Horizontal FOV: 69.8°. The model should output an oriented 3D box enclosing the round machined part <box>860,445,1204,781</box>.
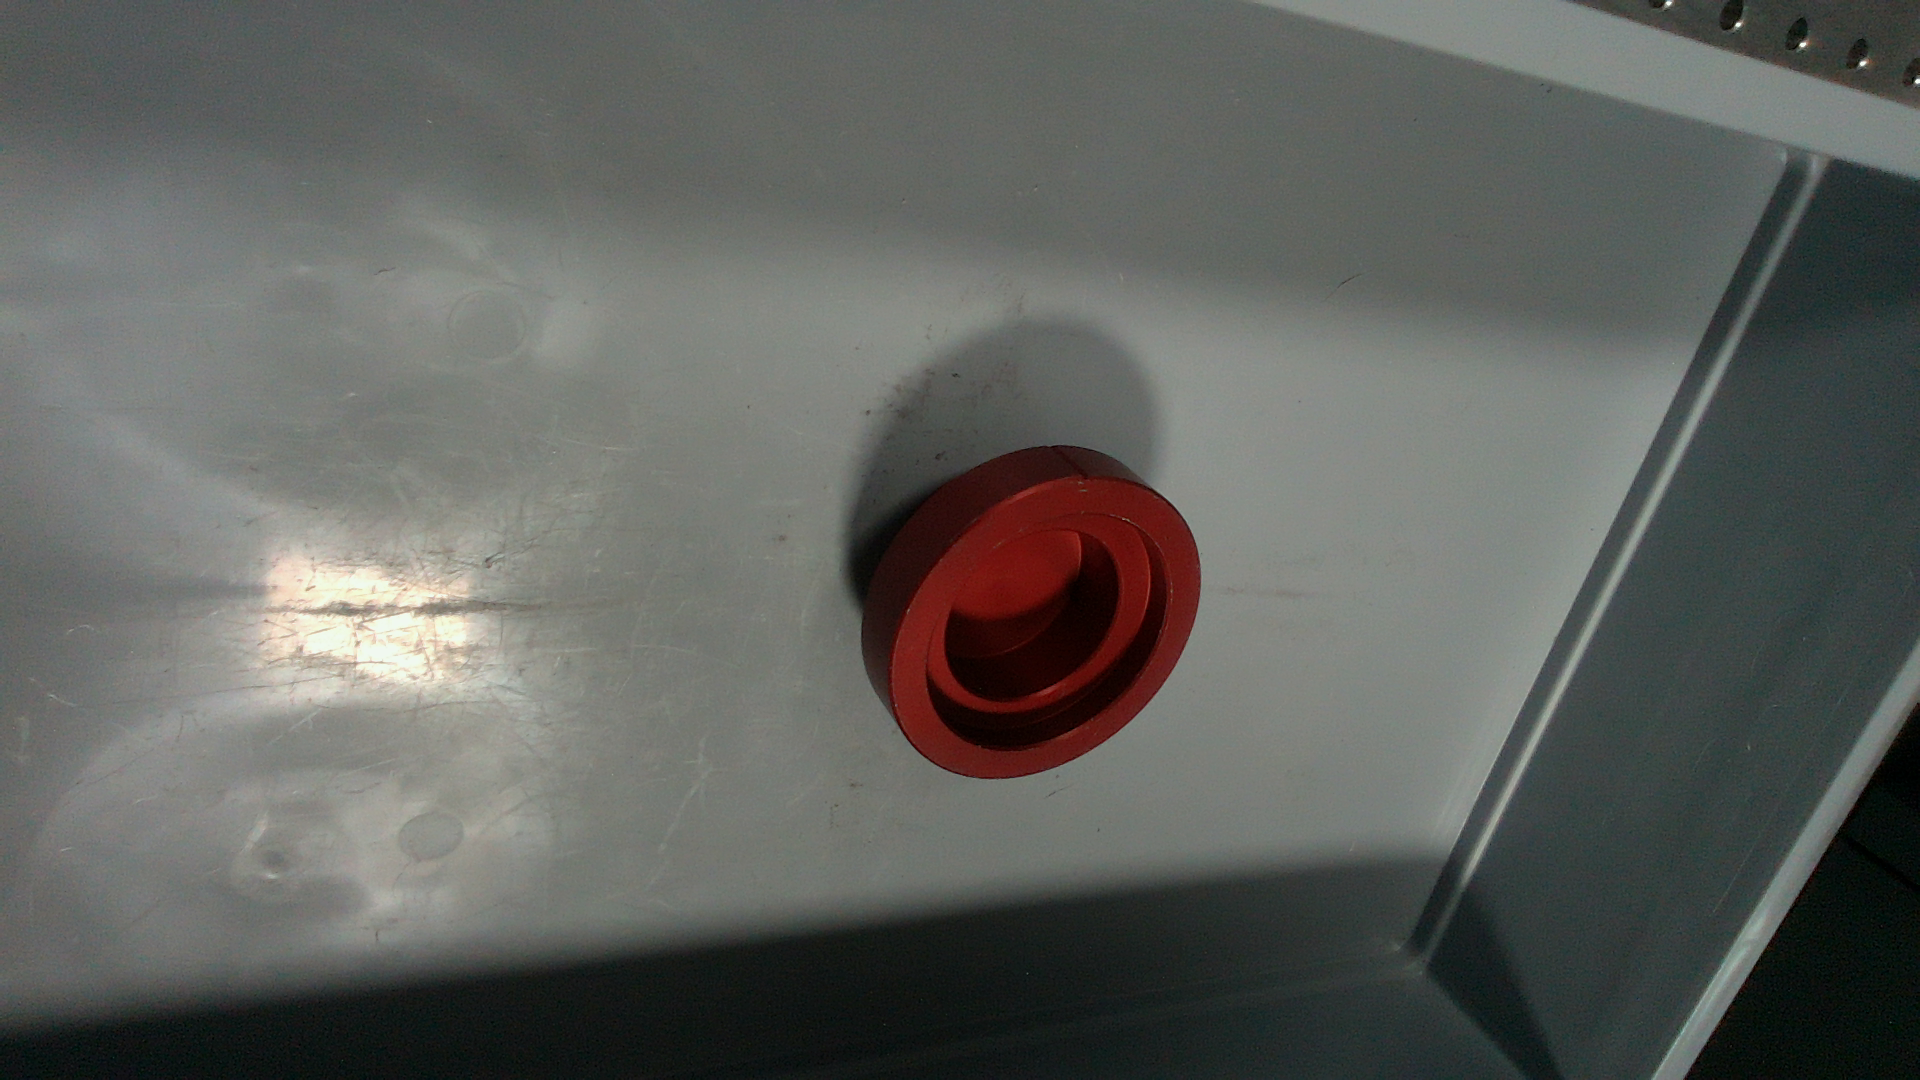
[{"bbox_3d":[0.017,0.017,0.394,0.098,0.042,0.098,-14,124,-21],"label":"round machined part"}]
